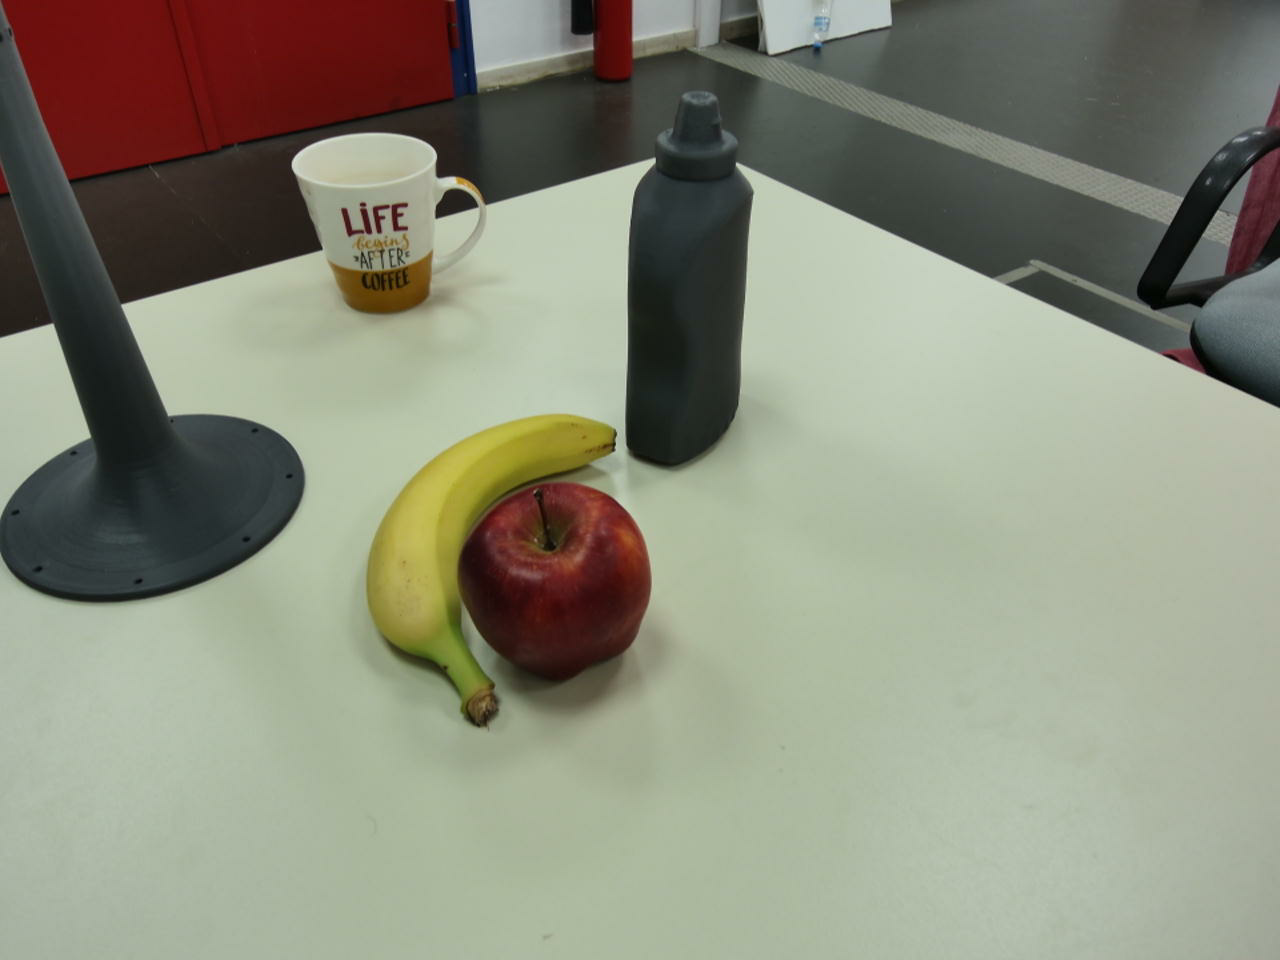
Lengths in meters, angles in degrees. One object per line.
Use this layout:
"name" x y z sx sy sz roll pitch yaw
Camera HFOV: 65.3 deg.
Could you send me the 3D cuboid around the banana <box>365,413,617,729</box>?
"banana" -0.080 0.025 0.494 0.094 0.041 0.196 11 38 12
